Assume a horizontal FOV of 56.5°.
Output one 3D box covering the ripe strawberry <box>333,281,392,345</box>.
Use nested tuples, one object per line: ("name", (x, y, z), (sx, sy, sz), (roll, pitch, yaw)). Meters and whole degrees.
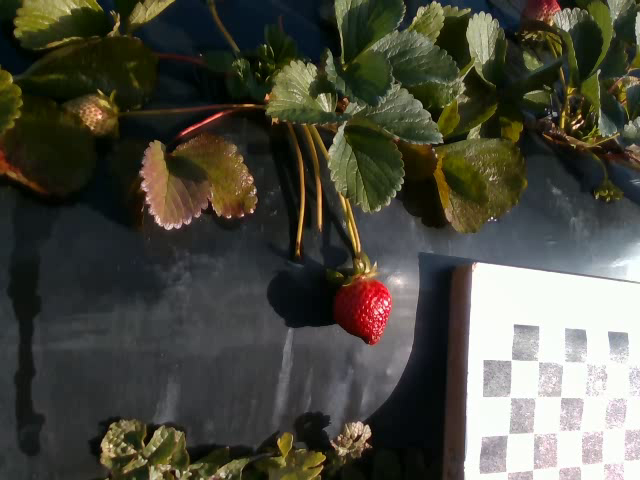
("ripe strawberry", (0.025, 0.042, 0.329), (0.040, 0.044, 0.036), (-14, -10, -27))
